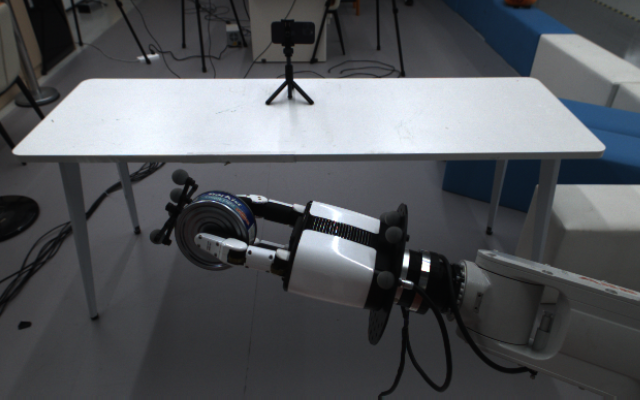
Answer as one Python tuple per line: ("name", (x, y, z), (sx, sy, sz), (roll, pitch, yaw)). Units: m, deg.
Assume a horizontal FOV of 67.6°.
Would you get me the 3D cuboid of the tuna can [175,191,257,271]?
("tuna can", (-0.111, 0.040, 0.536), (0.085, 0.085, 0.034), (6, 19, 5))
